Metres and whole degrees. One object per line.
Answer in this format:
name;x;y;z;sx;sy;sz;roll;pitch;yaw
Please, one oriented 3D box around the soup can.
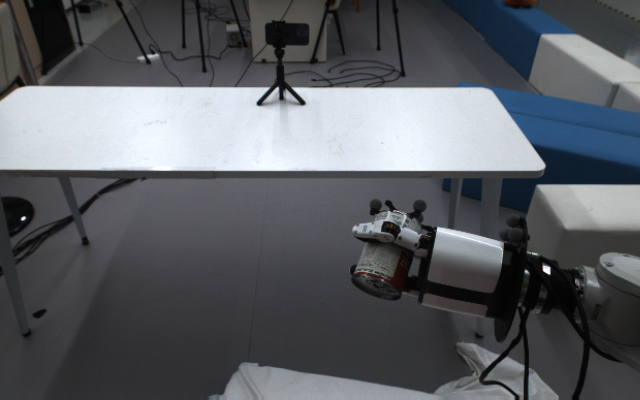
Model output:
soup can;0.090;0.069;0.643;0.067;0.067;0.101;15;63;18
